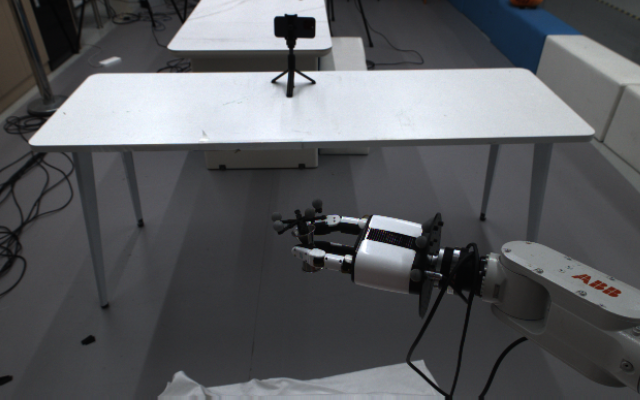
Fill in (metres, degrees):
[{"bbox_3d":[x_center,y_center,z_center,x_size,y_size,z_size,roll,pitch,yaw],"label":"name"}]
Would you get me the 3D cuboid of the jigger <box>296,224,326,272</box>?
[{"bbox_3d":[-0.017,0.077,0.781,0.043,0.071,0.043,-14,21,6],"label":"jigger"}]
